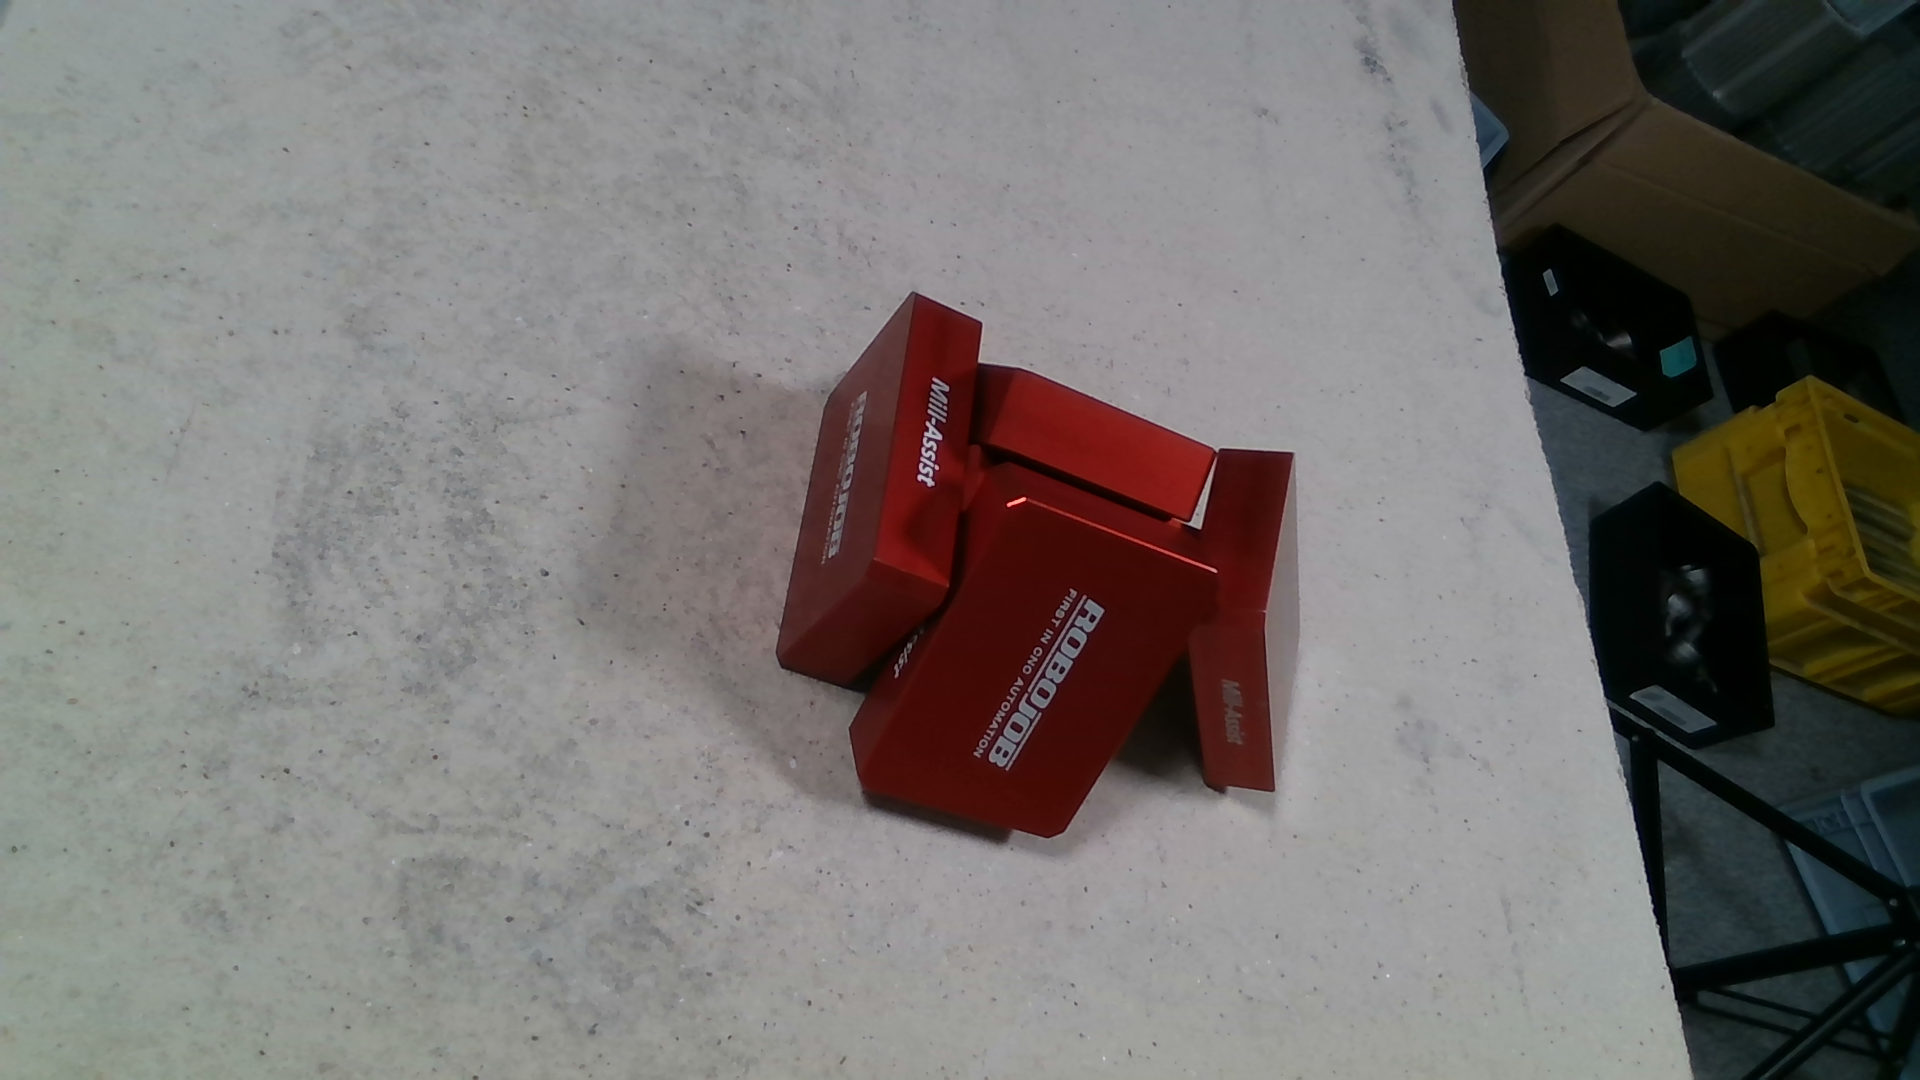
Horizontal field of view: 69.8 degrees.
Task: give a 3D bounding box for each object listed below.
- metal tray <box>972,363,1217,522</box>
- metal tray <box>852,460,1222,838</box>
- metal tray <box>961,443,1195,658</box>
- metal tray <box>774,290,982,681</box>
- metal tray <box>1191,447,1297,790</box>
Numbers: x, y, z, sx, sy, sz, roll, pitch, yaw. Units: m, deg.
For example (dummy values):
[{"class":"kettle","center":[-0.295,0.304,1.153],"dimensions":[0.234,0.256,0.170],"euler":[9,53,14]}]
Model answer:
[{"class":"metal tray","center":[0.035,-0.045,0.569],"dimensions":[0.090,0.130,0.030],"euler":[20,92,-22]},{"class":"metal tray","center":[0.026,0.044,0.514],"dimensions":[0.090,0.130,0.030],"euler":[20,23,-21]},{"class":"metal tray","center":[0.038,0.014,0.560],"dimensions":[0.130,0.090,0.030],"euler":[21,56,-21]},{"class":"metal tray","center":[-0.032,-0.021,0.535],"dimensions":[0.030,0.090,0.130],"euler":[21,56,-21]},{"class":"metal tray","center":[0.123,0.035,0.583],"dimensions":[0.030,0.130,0.090],"euler":[5,53,18]}]
